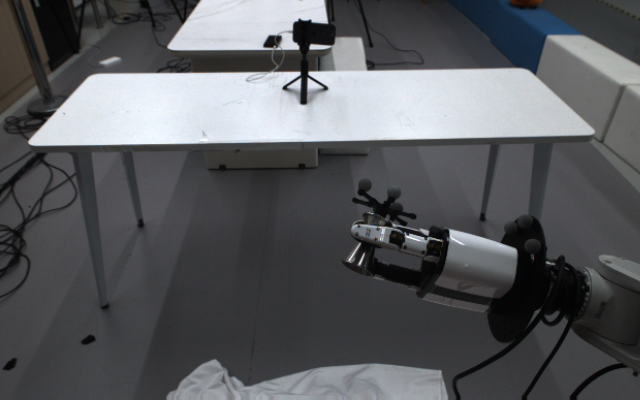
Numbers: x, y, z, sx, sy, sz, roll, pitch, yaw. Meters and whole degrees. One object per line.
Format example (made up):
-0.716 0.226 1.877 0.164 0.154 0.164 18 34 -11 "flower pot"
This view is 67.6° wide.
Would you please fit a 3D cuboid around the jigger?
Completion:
0.058 0.052 0.593 0.043 0.043 0.071 19 72 23 "jigger"
